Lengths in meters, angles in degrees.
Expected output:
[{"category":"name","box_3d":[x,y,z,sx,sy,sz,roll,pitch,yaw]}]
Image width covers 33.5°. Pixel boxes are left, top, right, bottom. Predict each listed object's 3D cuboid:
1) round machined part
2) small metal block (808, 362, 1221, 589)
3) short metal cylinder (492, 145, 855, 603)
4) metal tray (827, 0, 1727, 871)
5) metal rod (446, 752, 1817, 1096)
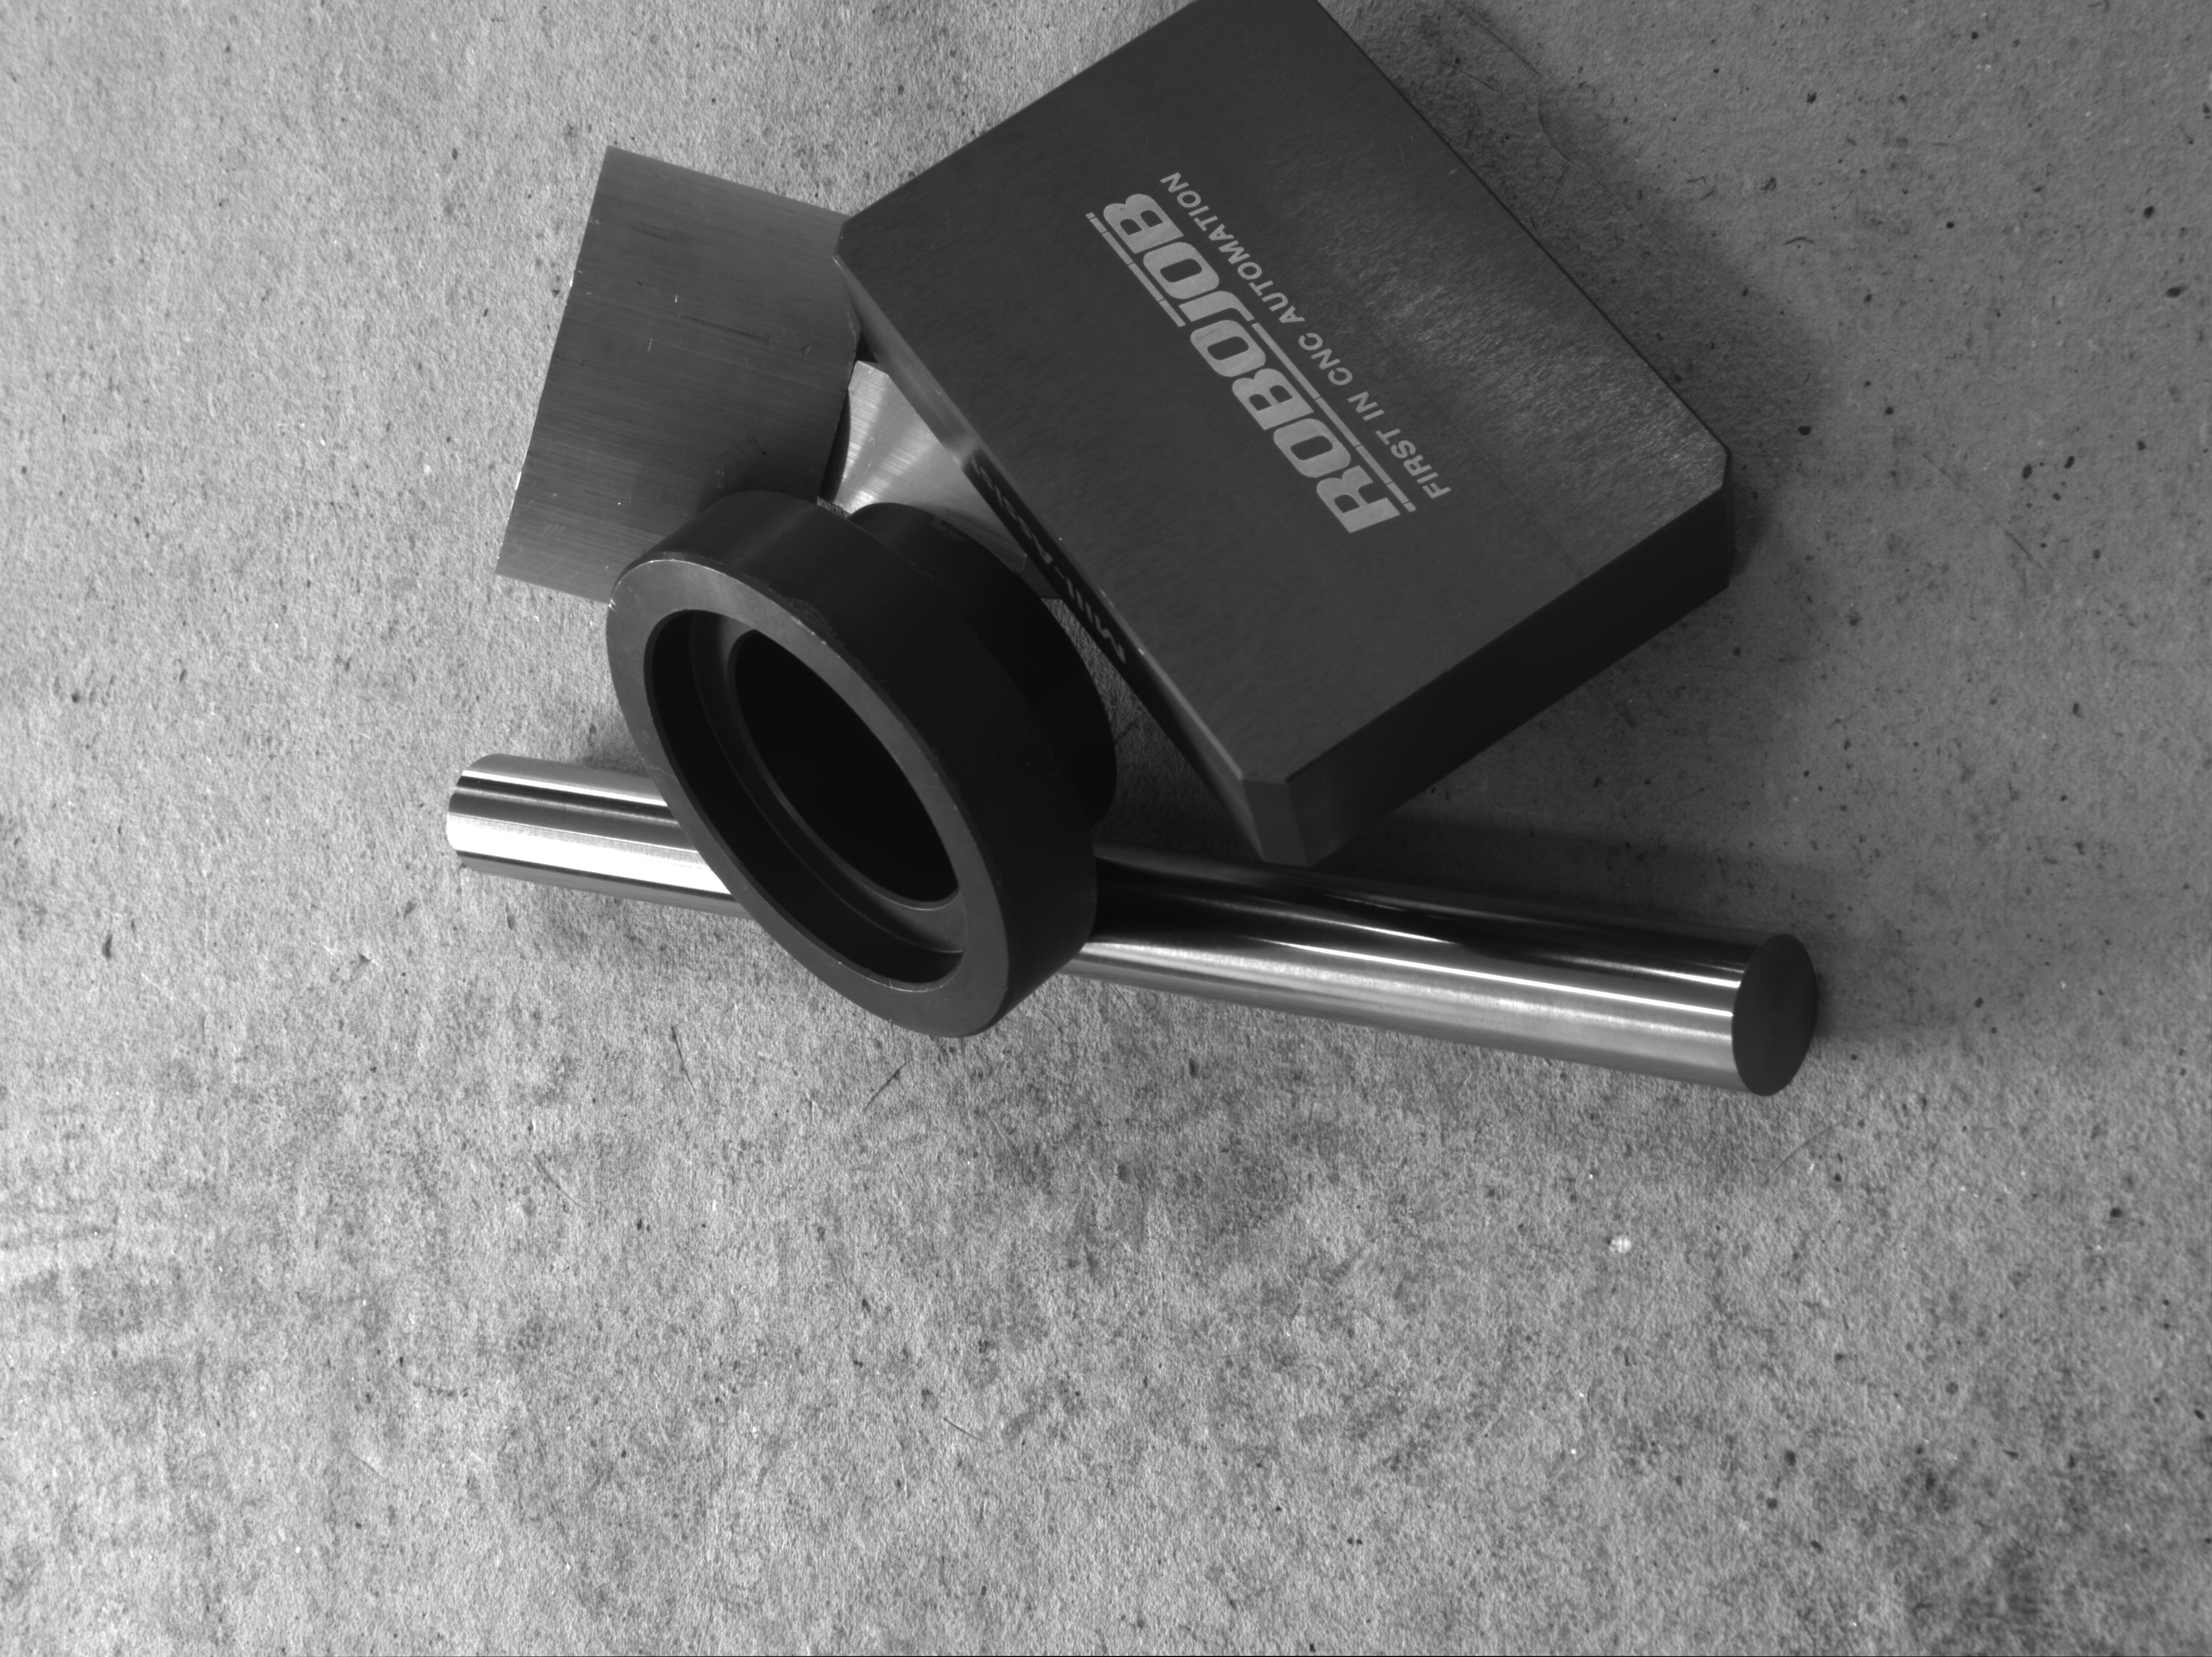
[{"category":"round machined part","box_3d":[-0.037,-0.016,0.625,0.098,0.042,0.098,35,148,26]},{"category":"small metal block","box_3d":[-0.015,-0.059,0.640,0.050,0.050,0.025,30,109,36]},{"category":"short metal cylinder","box_3d":[-0.077,-0.078,0.669,0.080,0.050,0.080,-165,90,-80]},{"category":"metal tray","box_3d":[0.026,-0.068,0.587,0.090,0.030,0.130,-34,63,-7]},{"category":"metal rod","box_3d":[-0.012,0.013,0.656,0.299,0.025,0.025,8,95,40]}]
